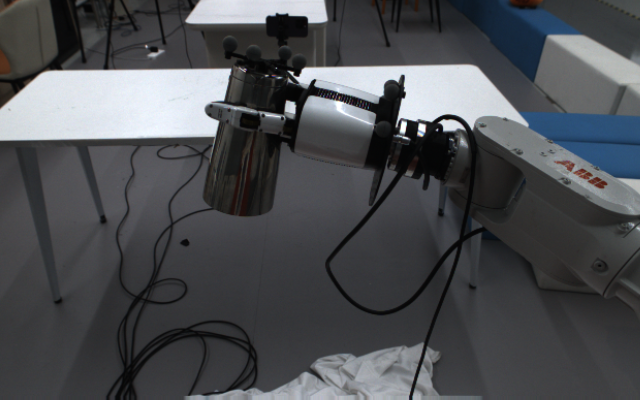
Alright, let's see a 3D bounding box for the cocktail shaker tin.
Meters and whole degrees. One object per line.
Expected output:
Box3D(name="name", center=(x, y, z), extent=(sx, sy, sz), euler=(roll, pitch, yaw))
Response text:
Box3D(name="cocktail shaker tin", center=(-0.084, -0.078, 0.594), extent=(0.093, 0.170, 0.093), euler=(12, 25, -6))
